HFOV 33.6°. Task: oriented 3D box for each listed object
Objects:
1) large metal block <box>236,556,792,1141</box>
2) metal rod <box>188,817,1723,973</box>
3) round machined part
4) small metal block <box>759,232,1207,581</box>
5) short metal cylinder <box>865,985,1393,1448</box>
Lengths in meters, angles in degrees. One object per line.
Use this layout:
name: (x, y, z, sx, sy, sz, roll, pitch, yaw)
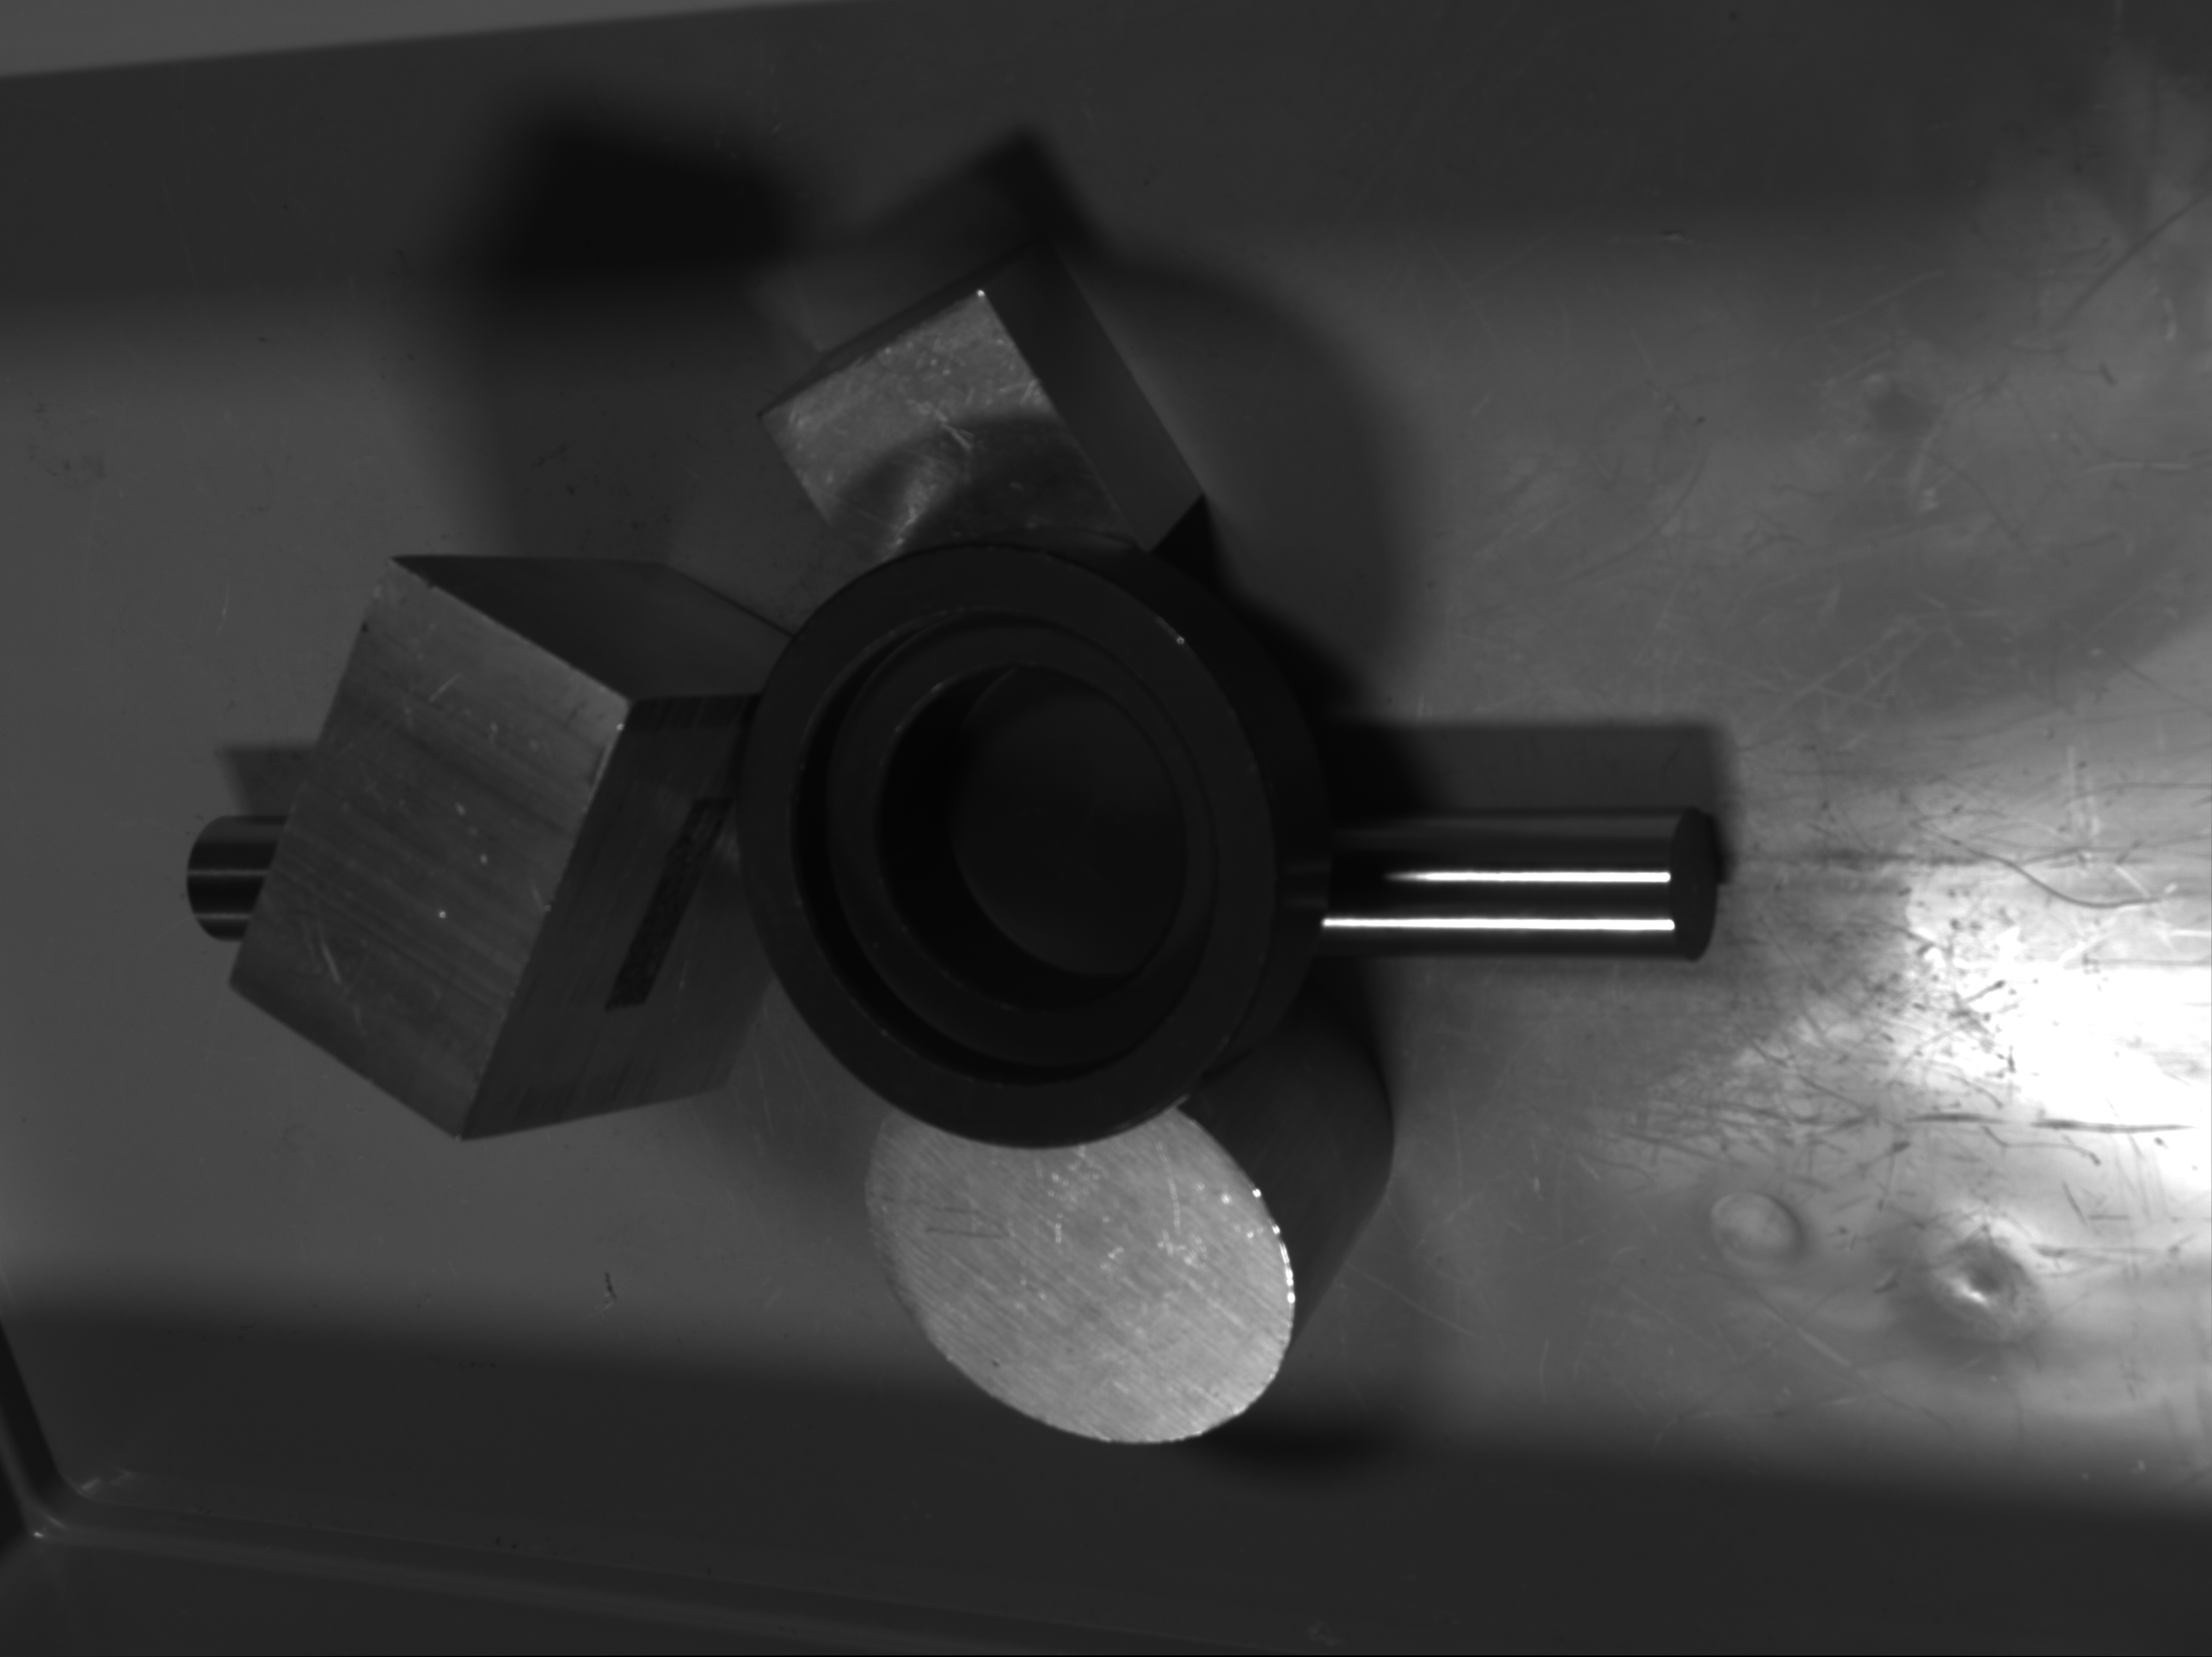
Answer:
large metal block: (-0.090, 0.001, 0.622, 0.050, 0.080, 0.080, 29, 105, 22)
metal rod: (-0.039, 0.011, 0.654, 0.299, 0.025, 0.025, 0, 118, 27)
round machined part: (-0.008, 0.000, 0.598, 0.098, 0.042, 0.098, 6, 103, 26)
small metal block: (-0.020, -0.062, 0.603, 0.050, 0.025, 0.050, -23, 106, 35)
short metal cylinder: (0.005, 0.062, 0.647, 0.080, 0.050, 0.080, 12, 123, 20)
